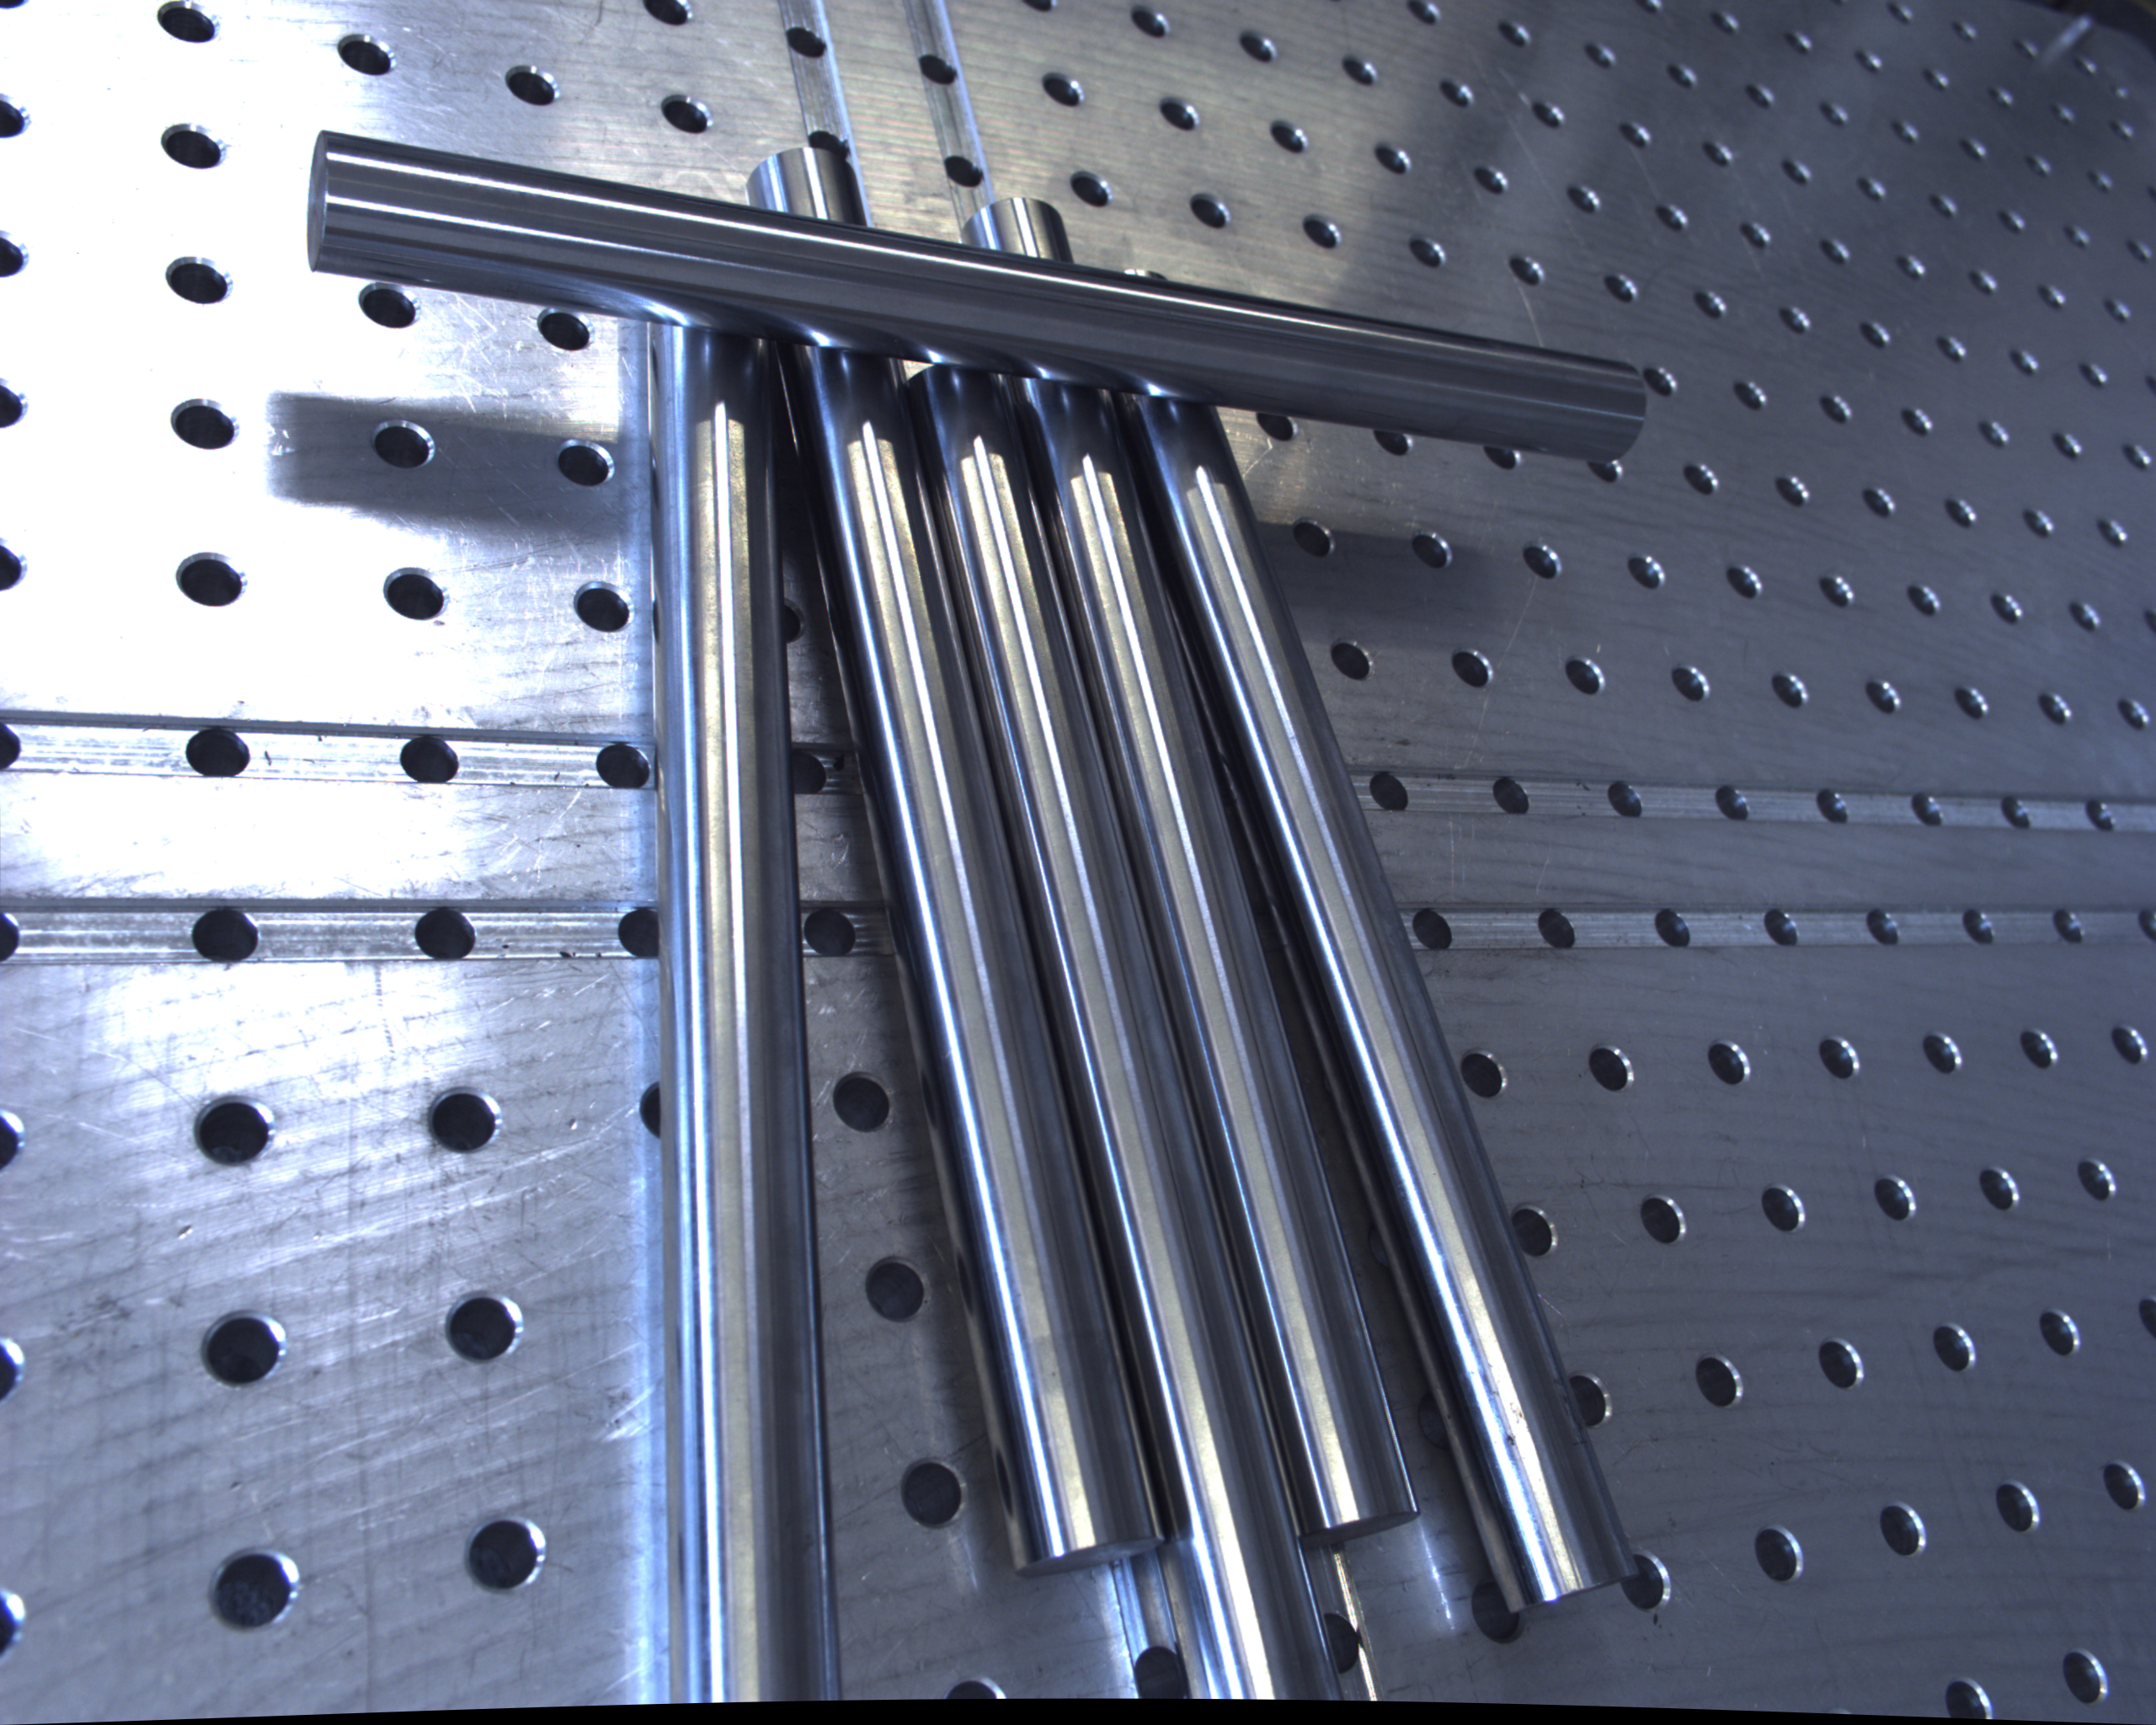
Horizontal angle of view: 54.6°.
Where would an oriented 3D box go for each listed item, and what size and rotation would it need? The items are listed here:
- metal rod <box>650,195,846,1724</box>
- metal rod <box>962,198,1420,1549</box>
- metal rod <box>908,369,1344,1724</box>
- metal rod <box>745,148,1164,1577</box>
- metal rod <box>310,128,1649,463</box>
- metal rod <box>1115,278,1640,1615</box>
[{"bbox_3d":[-0.062,-0.002,0.374,0.025,0.025,0.299,7,59,-25],"label":"metal rod"},{"bbox_3d":[0.016,-0.015,0.427,0.025,0.025,0.299,1,61,-28],"label":"metal rod"},{"bbox_3d":[0.005,0.031,0.391,0.025,0.025,0.299,1,62,-28],"label":"metal rod"},{"bbox_3d":[-0.030,-0.018,0.403,0.025,0.025,0.299,1,61,-28],"label":"metal rod"},{"bbox_3d":[-0.002,-0.115,0.444,0.302,0.025,0.025,2,61,-27],"label":"metal rod"},{"bbox_3d":[0.050,0.000,0.435,0.025,0.025,0.299,-2,63,-29],"label":"metal rod"}]
